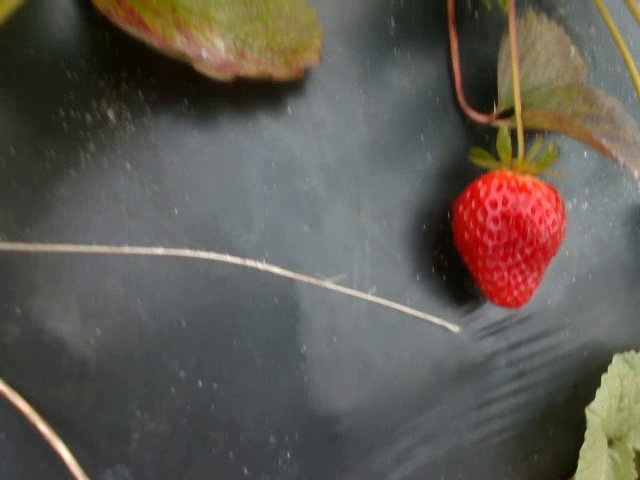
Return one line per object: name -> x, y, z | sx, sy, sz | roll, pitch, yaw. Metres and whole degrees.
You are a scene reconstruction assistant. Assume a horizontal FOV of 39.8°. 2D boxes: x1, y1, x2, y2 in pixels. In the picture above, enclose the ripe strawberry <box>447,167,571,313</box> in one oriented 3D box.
ripe strawberry -> 0.041, 0.000, 0.188 | 0.028, 0.033, 0.022 | 14, -6, -28
